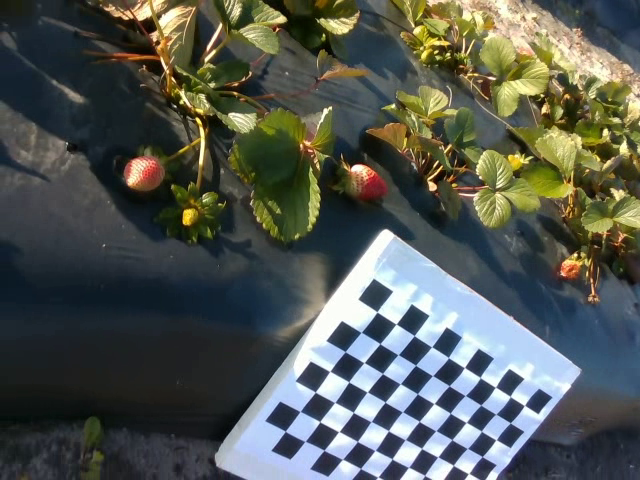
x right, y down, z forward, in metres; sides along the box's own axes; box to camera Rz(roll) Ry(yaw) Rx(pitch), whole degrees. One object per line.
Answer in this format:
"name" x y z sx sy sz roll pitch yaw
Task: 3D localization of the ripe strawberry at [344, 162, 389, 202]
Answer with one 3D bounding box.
"ripe strawberry" 0.054 -0.064 0.649 0.063 0.045 0.043 15 12 -24
